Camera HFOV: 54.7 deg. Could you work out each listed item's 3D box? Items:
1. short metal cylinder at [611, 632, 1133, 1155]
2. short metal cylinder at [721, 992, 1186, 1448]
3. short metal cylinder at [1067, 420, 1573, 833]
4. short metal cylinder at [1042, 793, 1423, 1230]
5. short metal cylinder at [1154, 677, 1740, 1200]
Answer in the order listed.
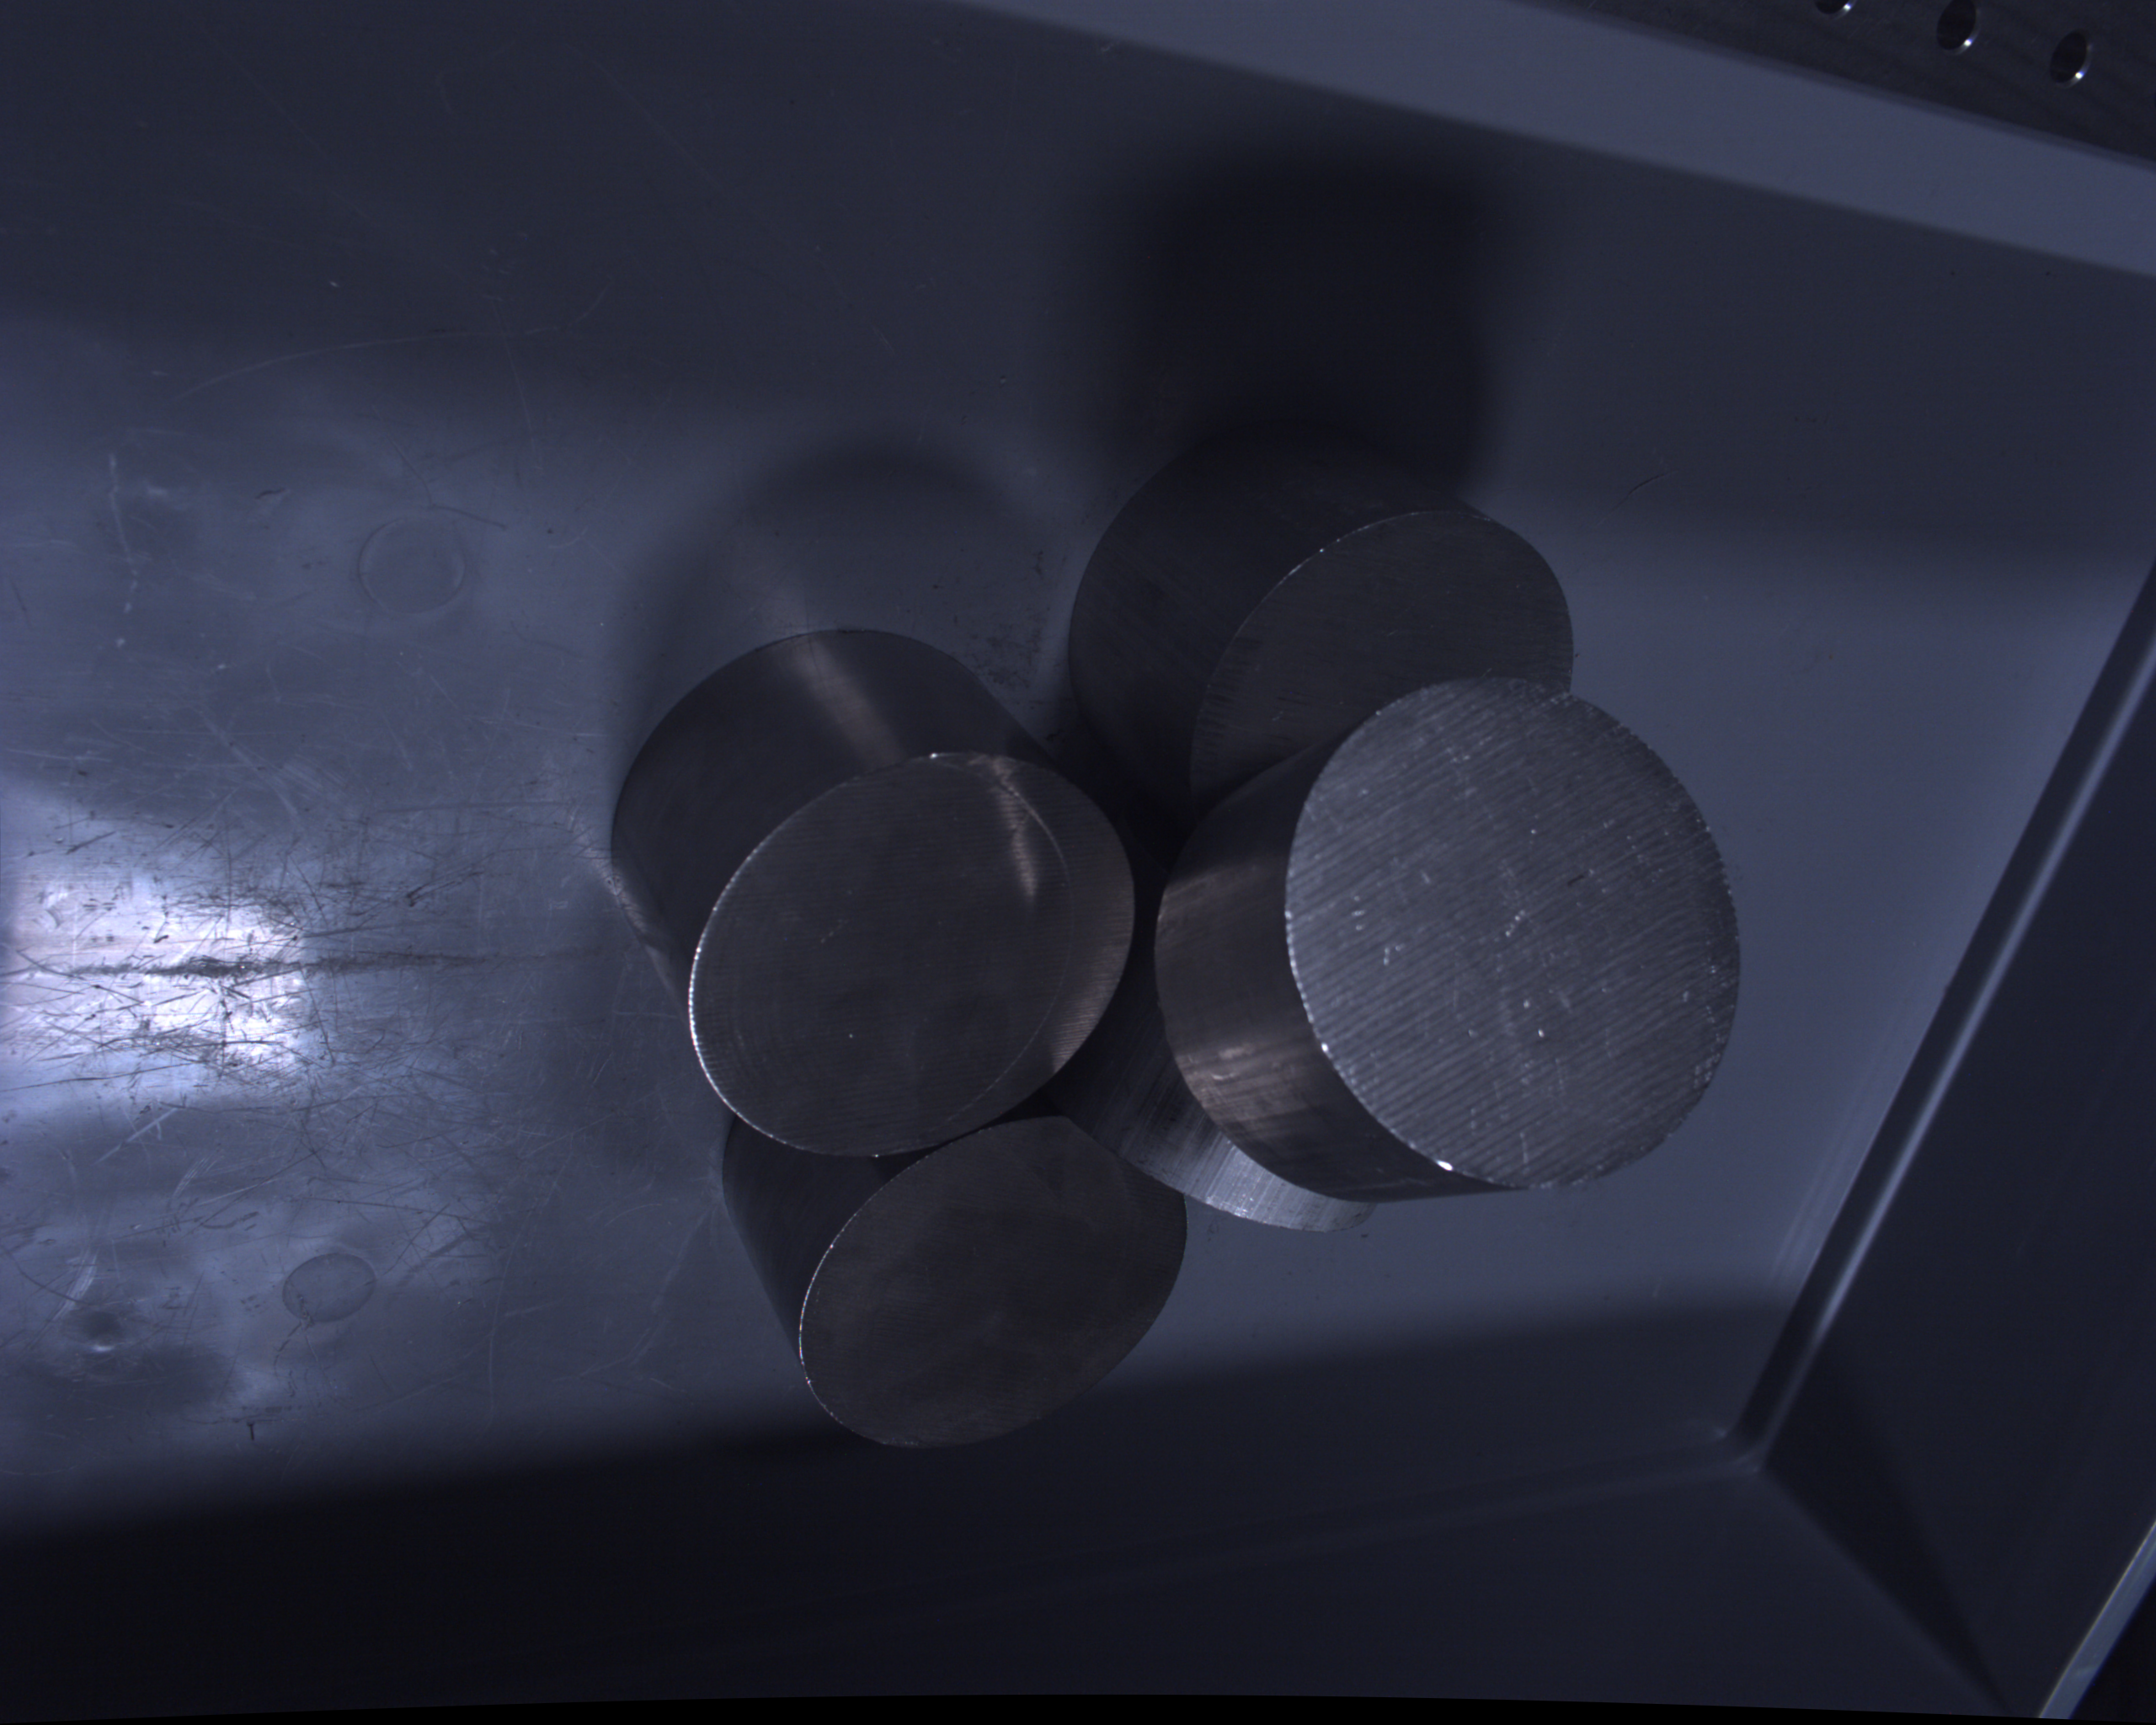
[{"bbox_3d":[-0.037,0.005,0.374,0.081,0.050,0.079,-14,125,-21],"label":"short metal cylinder"},{"bbox_3d":[-0.026,0.070,0.421,0.081,0.050,0.079,-14,125,-21],"label":"short metal cylinder"},{"bbox_3d":[0.045,-0.037,0.394,0.081,0.050,0.079,-14,125,-21],"label":"short metal cylinder"},{"bbox_3d":[0.034,0.027,0.409,0.081,0.080,0.050,14,111,-34],"label":"short metal cylinder"},{"bbox_3d":[0.059,0.015,0.343,0.081,0.050,0.080,5,77,-21],"label":"short metal cylinder"}]
